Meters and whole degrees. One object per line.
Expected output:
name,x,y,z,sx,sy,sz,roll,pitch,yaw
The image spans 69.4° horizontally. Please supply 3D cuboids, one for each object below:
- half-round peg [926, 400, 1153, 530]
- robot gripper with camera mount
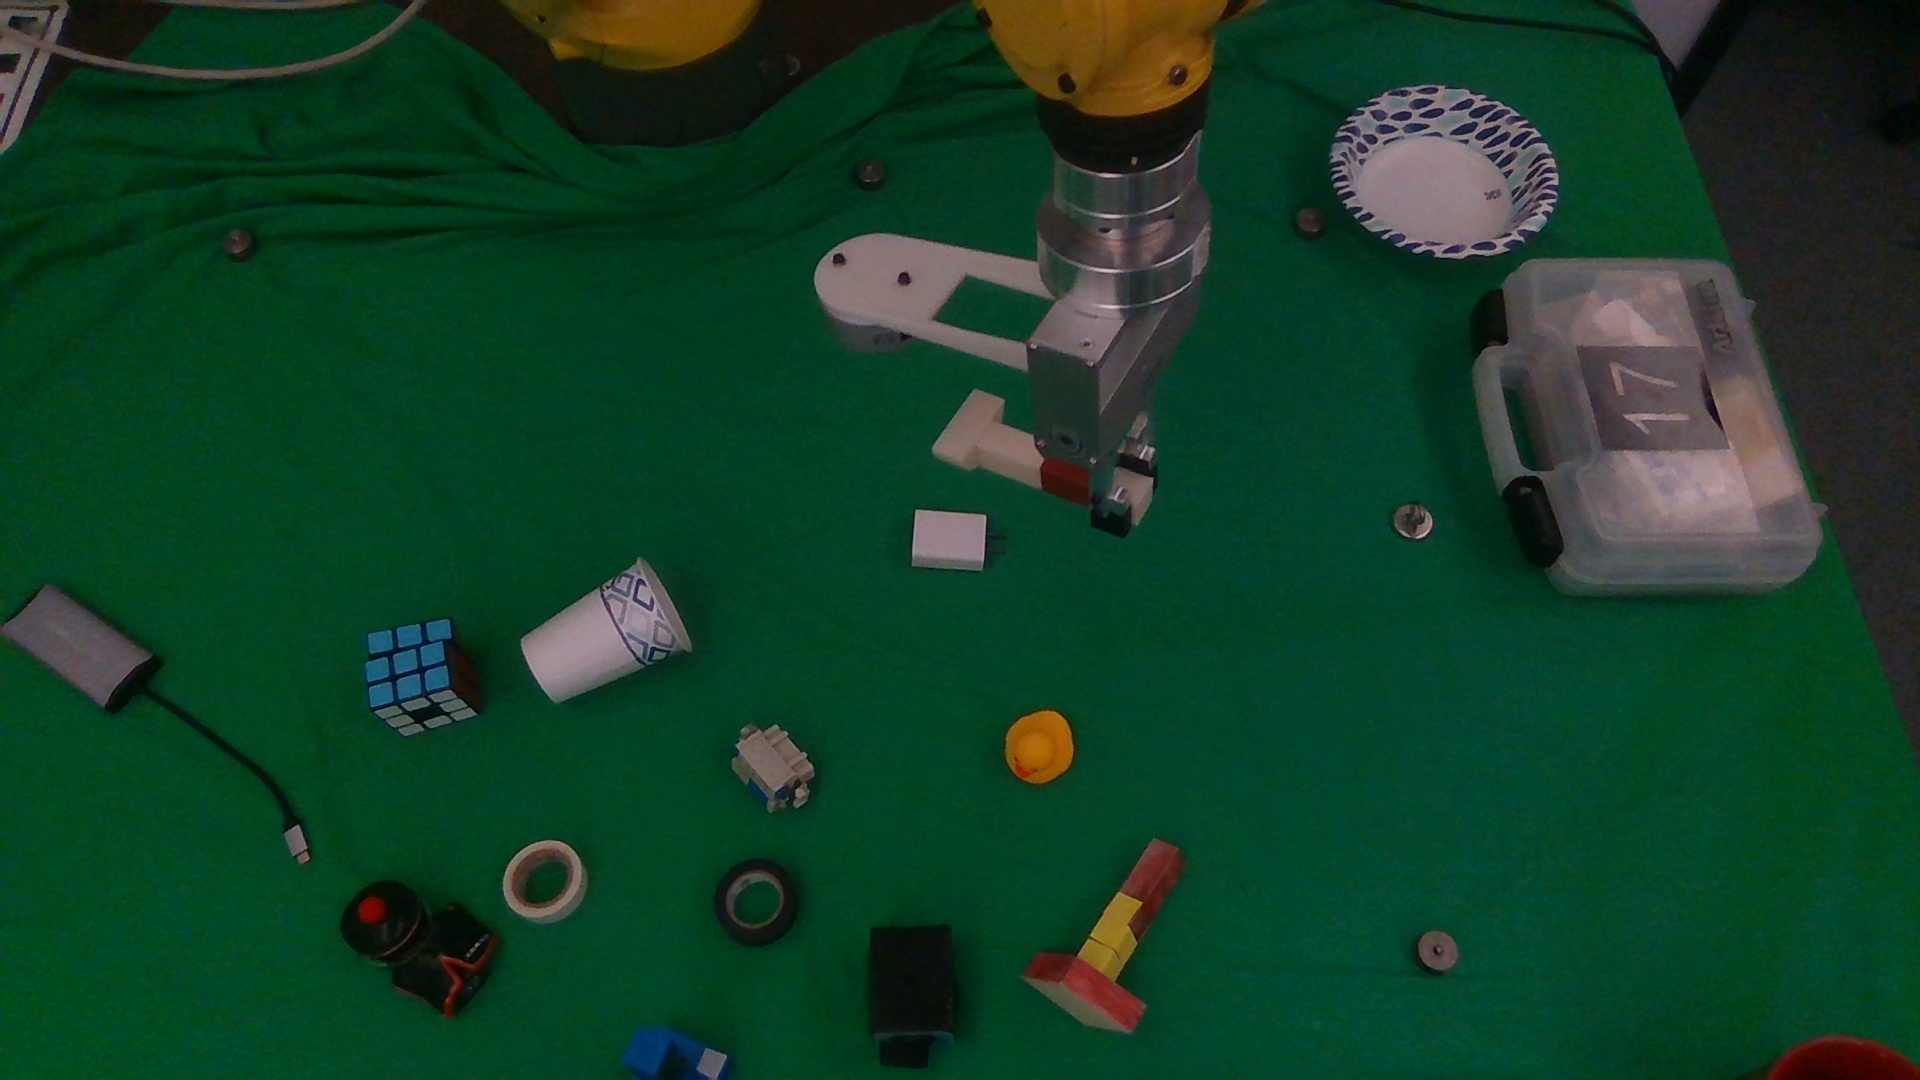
half-round peg,0.046,-0.035,0.763,0.122,0.031,0.054,21,58,21
robot gripper with camera mount,0.011,-0.079,0.724,0.194,0.158,0.119,17,56,23
